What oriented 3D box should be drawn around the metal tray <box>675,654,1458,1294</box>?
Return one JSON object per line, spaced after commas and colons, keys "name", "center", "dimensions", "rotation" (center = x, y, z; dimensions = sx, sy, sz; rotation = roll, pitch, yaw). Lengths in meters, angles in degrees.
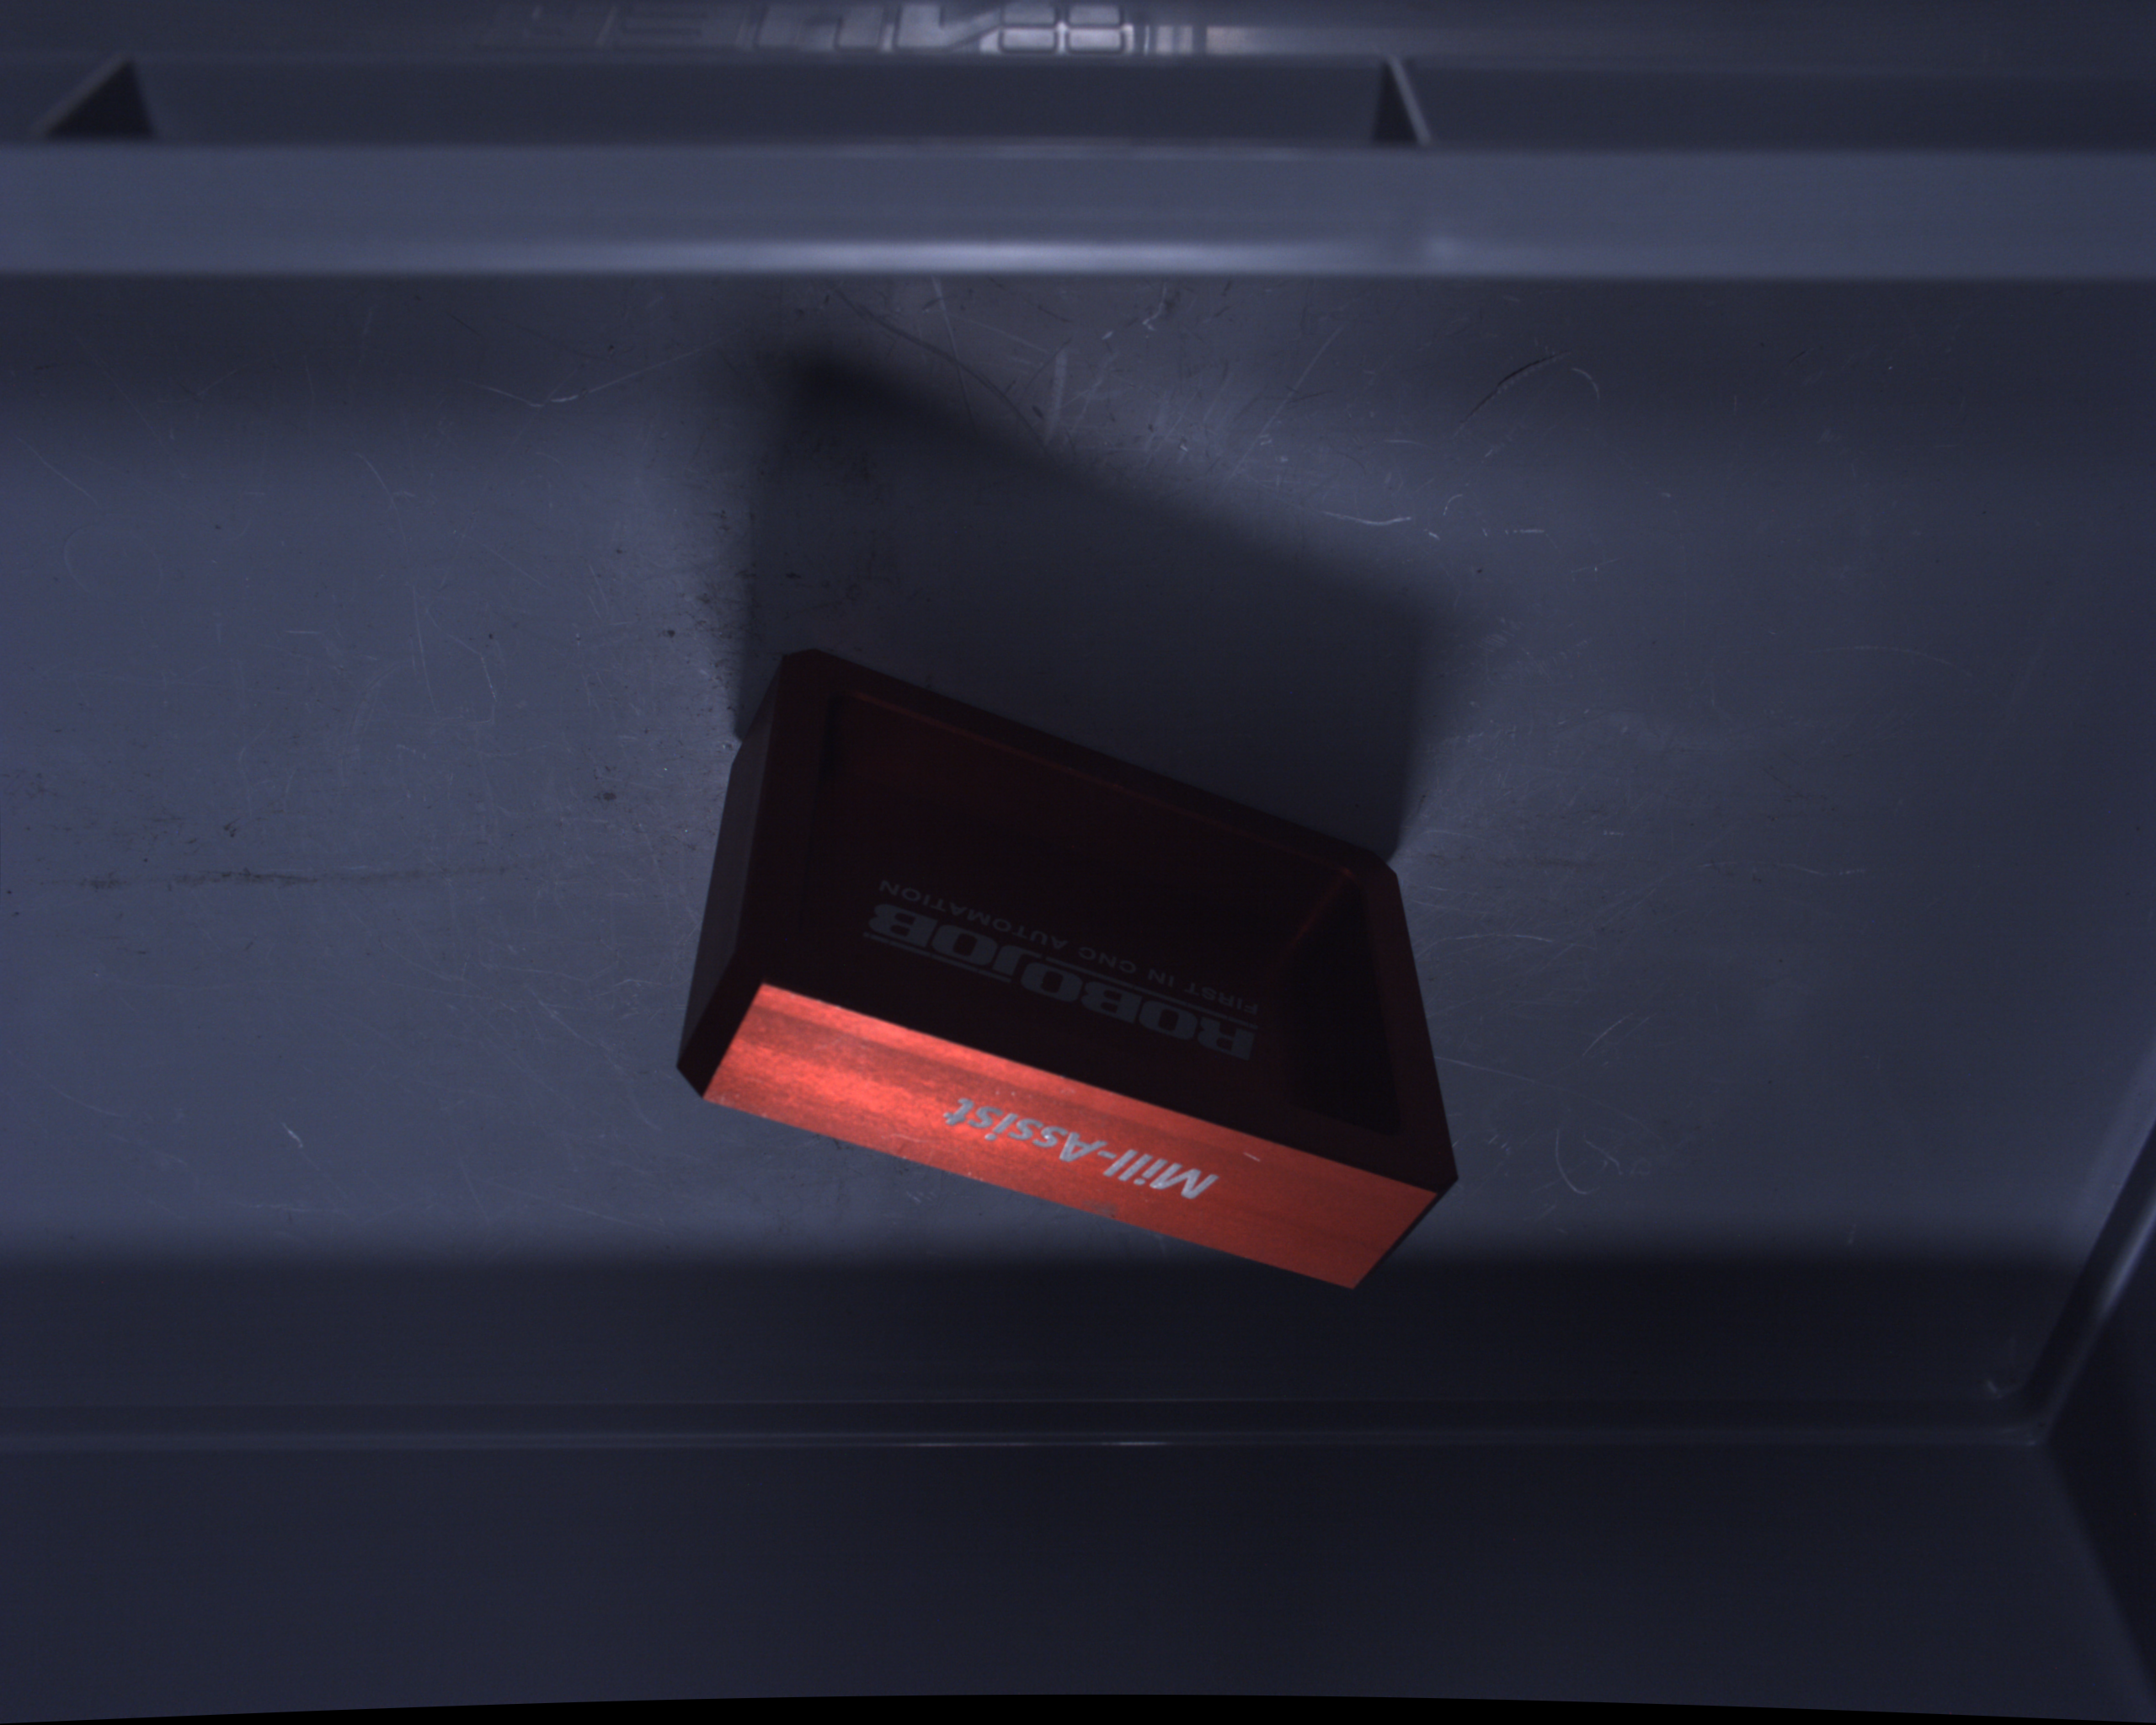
{"name": "metal tray", "center": [0.000, 0.019, 0.378], "dimensions": [0.131, 0.090, 0.030], "rotation": [19, 127, -17]}
